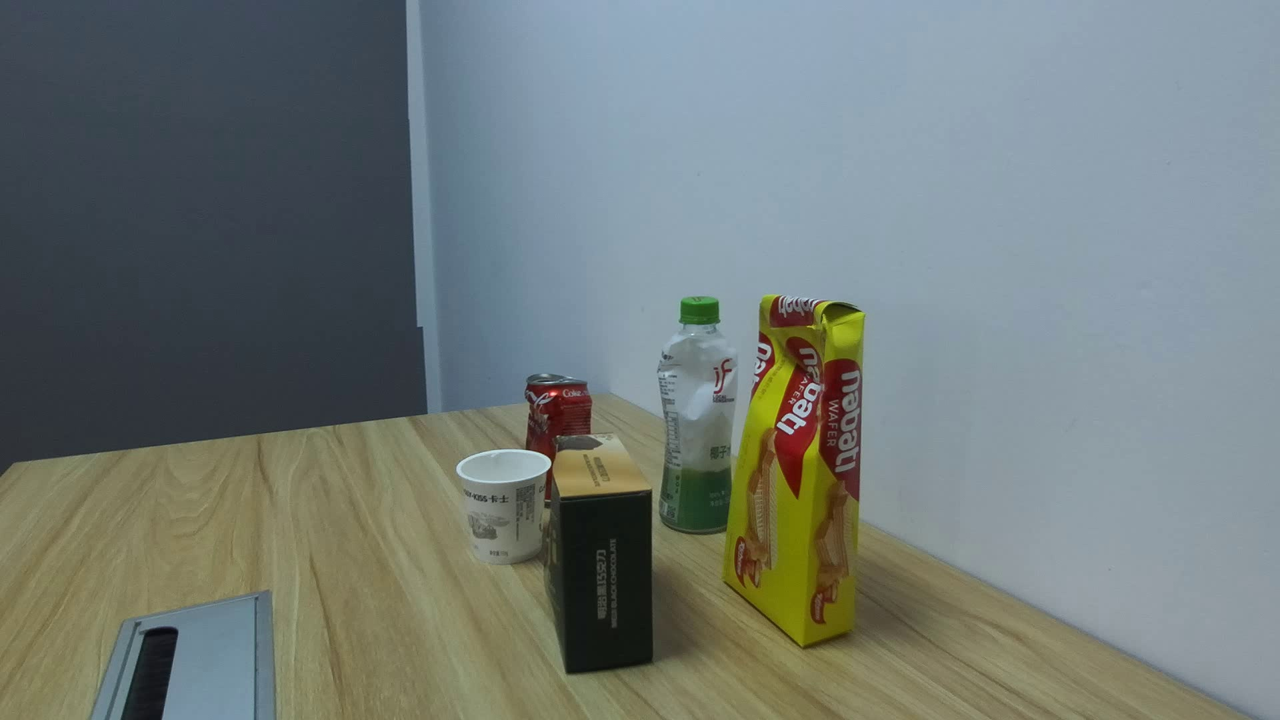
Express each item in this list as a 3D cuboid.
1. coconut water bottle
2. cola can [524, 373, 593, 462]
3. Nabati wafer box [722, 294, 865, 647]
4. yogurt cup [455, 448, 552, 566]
[{"bbox_3d":[0.048,0.043,0.575,0.069,0.186,0.069,2,10,0],"label":"coconut water bottle"},{"bbox_3d":[-0.073,0.071,0.635,0.066,0.112,0.069,-3,11,-10],"label":"cola can"},{"bbox_3d":[0.095,0.063,0.445,0.043,0.205,0.113,-4,11,-24],"label":"Nabati wafer box"},{"bbox_3d":[-0.100,0.111,0.535,0.072,0.068,0.072,0,12,0],"label":"yogurt cup"}]
